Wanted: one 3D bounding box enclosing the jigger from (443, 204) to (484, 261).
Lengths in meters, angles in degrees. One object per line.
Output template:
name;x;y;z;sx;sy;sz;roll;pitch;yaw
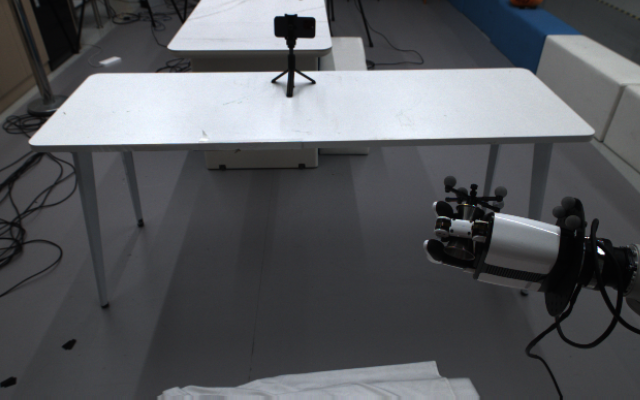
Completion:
jigger;0.205;0.043;0.676;0.043;0.043;0.071;13;69;15
